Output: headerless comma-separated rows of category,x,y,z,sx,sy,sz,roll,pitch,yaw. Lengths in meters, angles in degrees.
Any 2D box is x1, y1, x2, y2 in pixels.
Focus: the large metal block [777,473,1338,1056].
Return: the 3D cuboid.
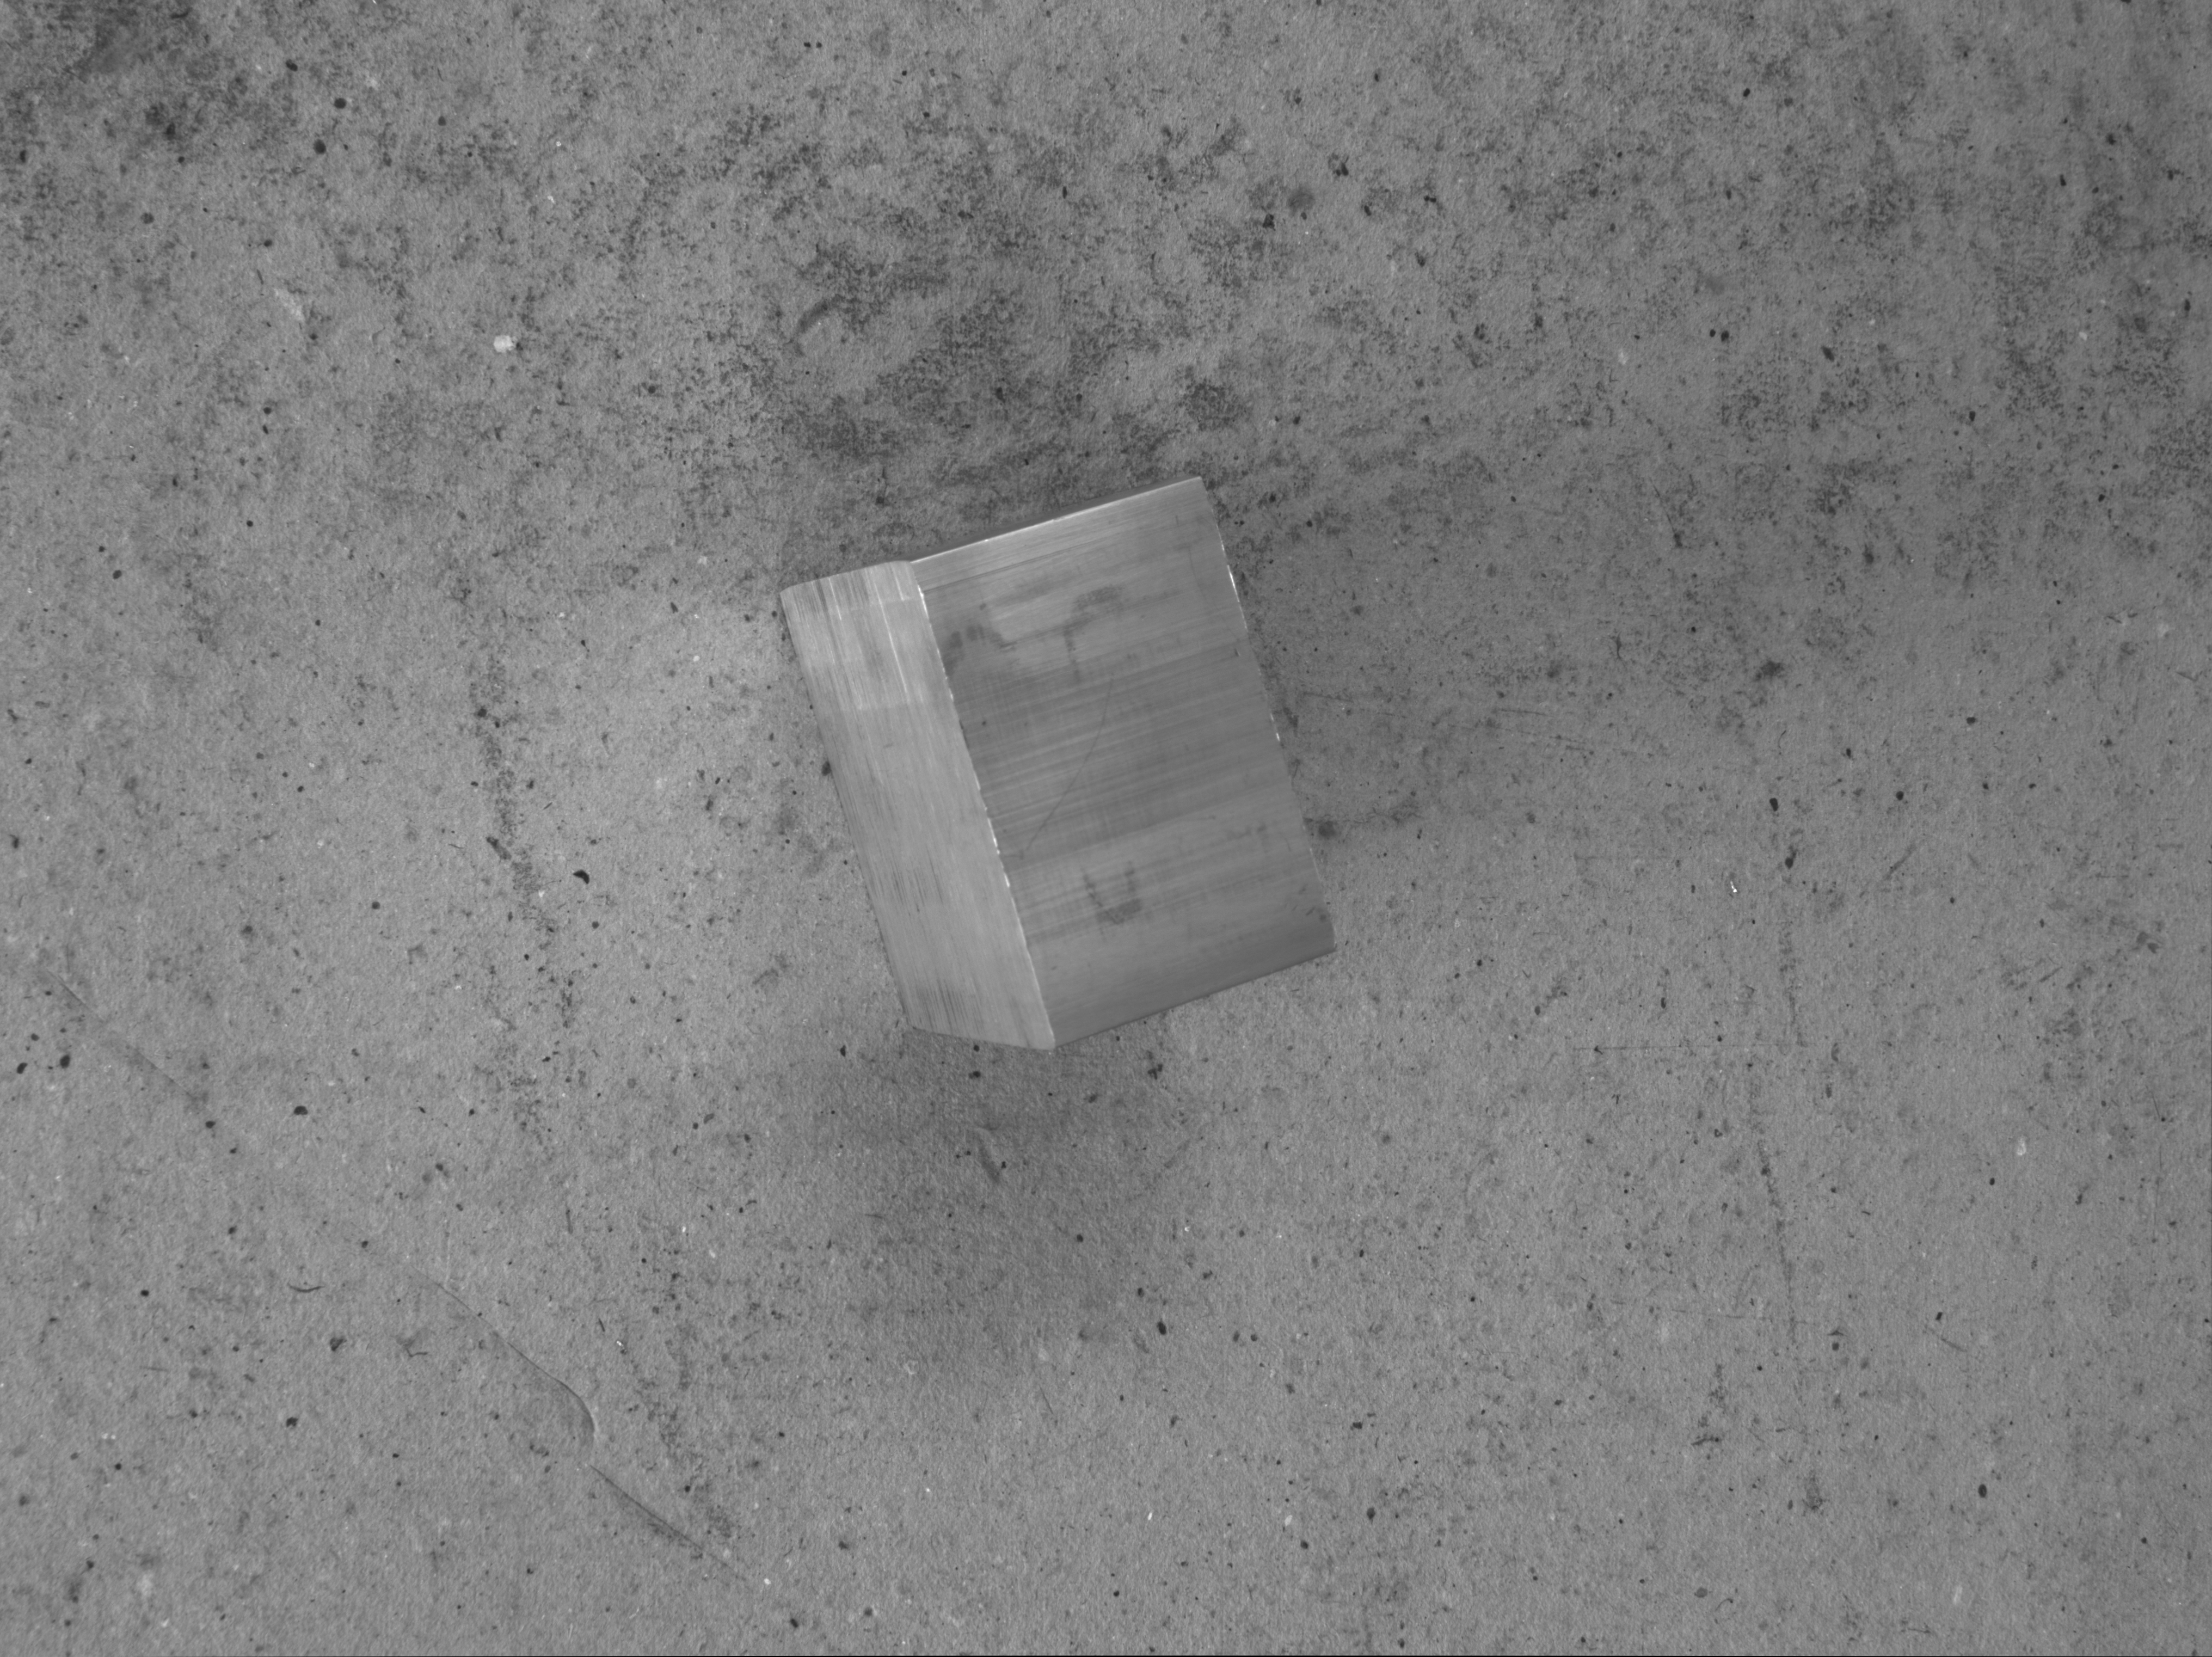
large metal block,-0.010,-0.010,0.610,0.050,0.080,0.080,-18,96,-19
